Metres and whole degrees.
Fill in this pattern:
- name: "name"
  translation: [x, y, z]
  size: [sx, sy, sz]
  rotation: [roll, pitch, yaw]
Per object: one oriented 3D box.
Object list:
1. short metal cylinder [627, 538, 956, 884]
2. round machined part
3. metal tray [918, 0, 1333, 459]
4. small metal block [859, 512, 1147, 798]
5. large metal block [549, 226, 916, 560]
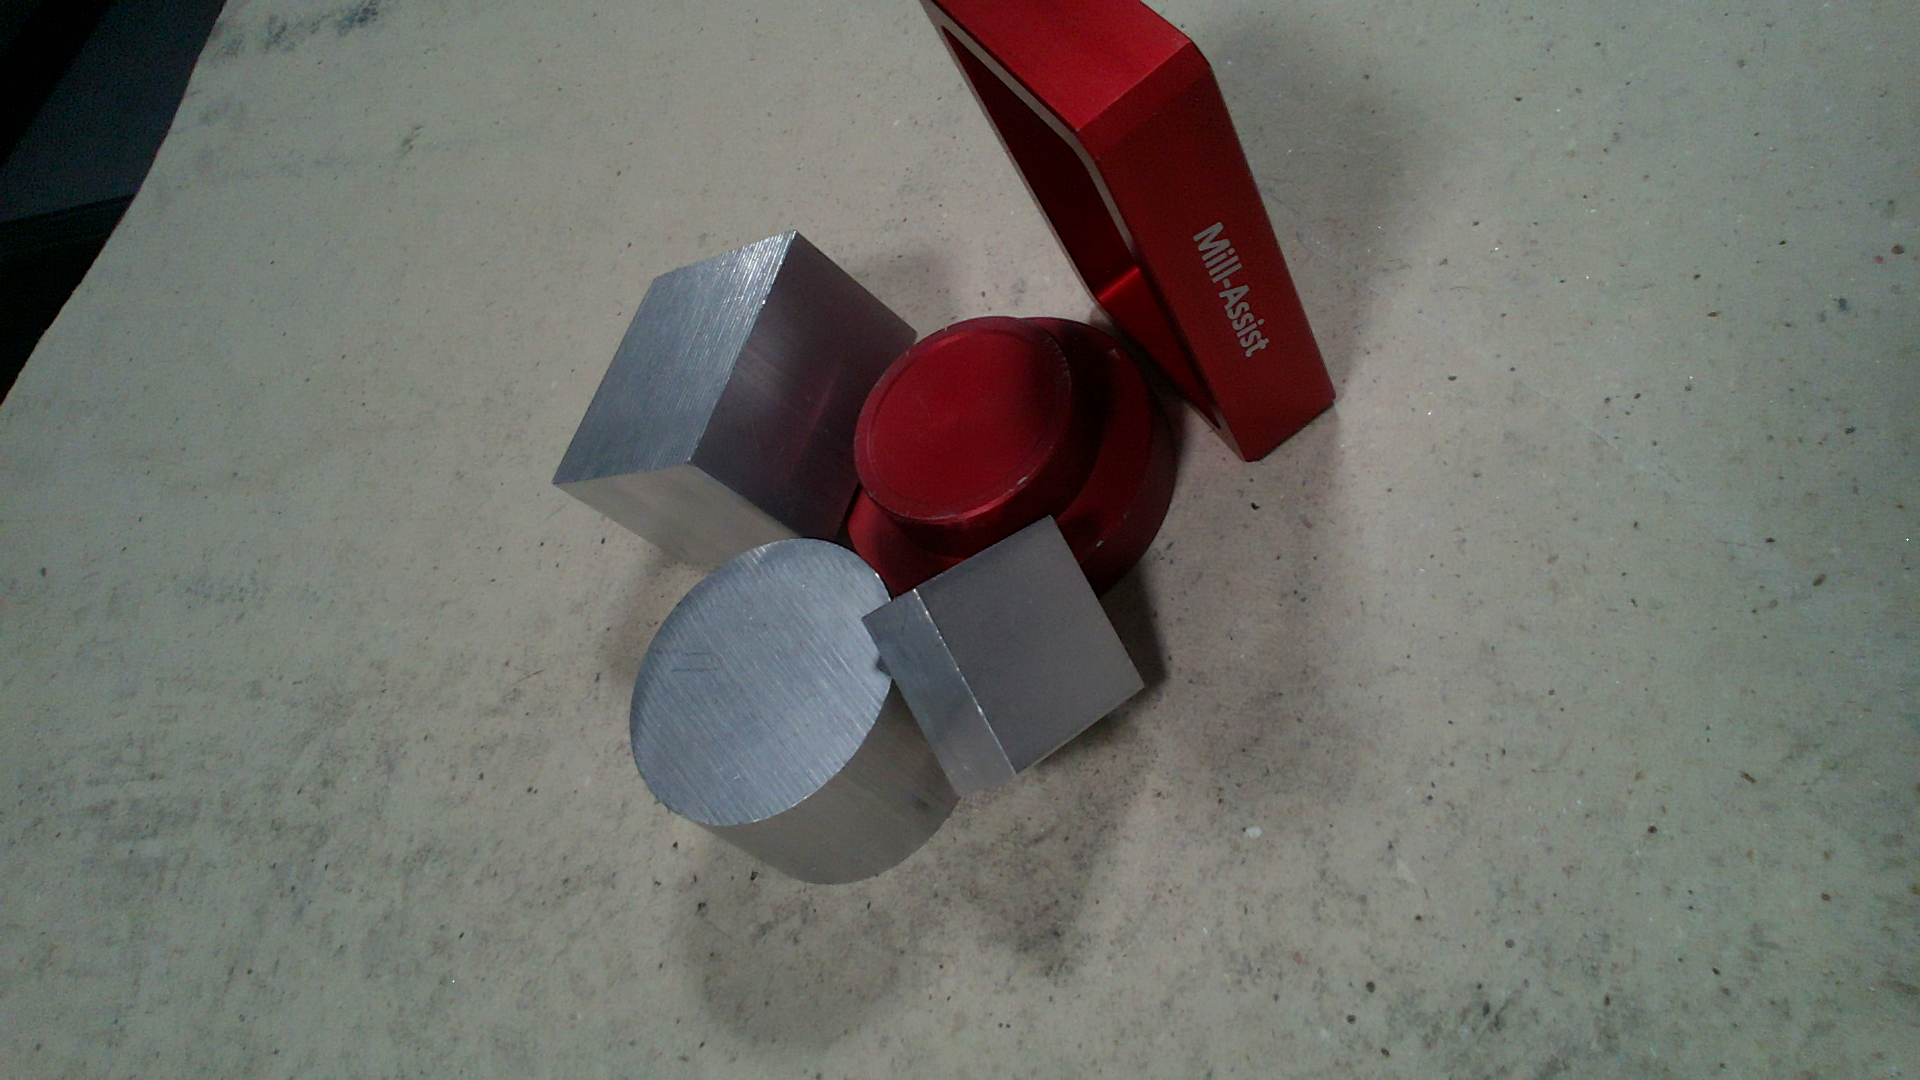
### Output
- name: "short metal cylinder"
  translation: [-0.042, 0.046, 0.372]
  size: [0.080, 0.050, 0.080]
  rotation: [-14, 56, 21]
- name: "round machined part"
  translation: [0.009, -0.025, 0.395]
  size: [0.098, 0.042, 0.098]
  rotation: [-13, 56, 21]
- name: "metal tray"
  translation: [0.044, -0.087, 0.354]
  size: [0.030, 0.130, 0.090]
  rotation: [-38, 51, 3]
- name: "small metal block"
  translation: [0.011, 0.028, 0.340]
  size: [0.025, 0.050, 0.050]
  rotation: [-30, 88, 50]
- name: "large metal block"
  translation: [-0.070, -0.042, 0.426]
  size: [0.080, 0.050, 0.080]
  rotation: [-3, 59, 47]
